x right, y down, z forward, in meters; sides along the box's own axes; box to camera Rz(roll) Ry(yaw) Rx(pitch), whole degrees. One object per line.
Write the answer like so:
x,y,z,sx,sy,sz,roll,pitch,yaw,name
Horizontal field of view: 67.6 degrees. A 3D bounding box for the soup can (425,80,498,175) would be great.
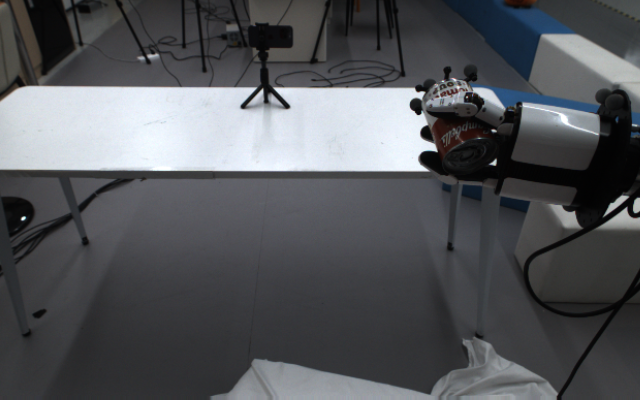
0.172,-0.093,0.598,0.067,0.067,0.101,-5,57,-10,soup can
